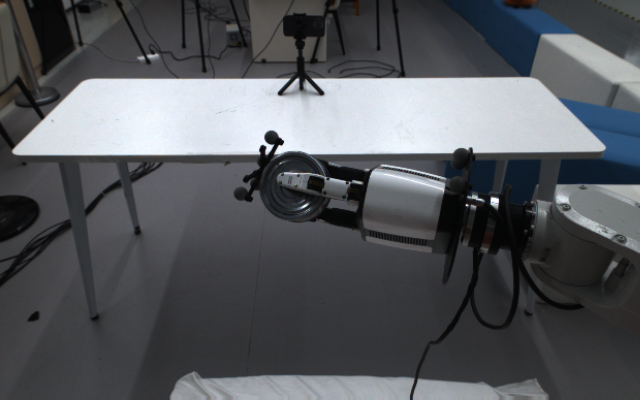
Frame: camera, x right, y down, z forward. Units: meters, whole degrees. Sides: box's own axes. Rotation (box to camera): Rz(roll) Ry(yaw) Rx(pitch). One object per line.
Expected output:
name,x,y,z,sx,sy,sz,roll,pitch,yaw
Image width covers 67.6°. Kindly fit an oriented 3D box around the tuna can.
tuna can,-0.026,-0.013,0.588,0.085,0.085,0.034,9,-4,10
